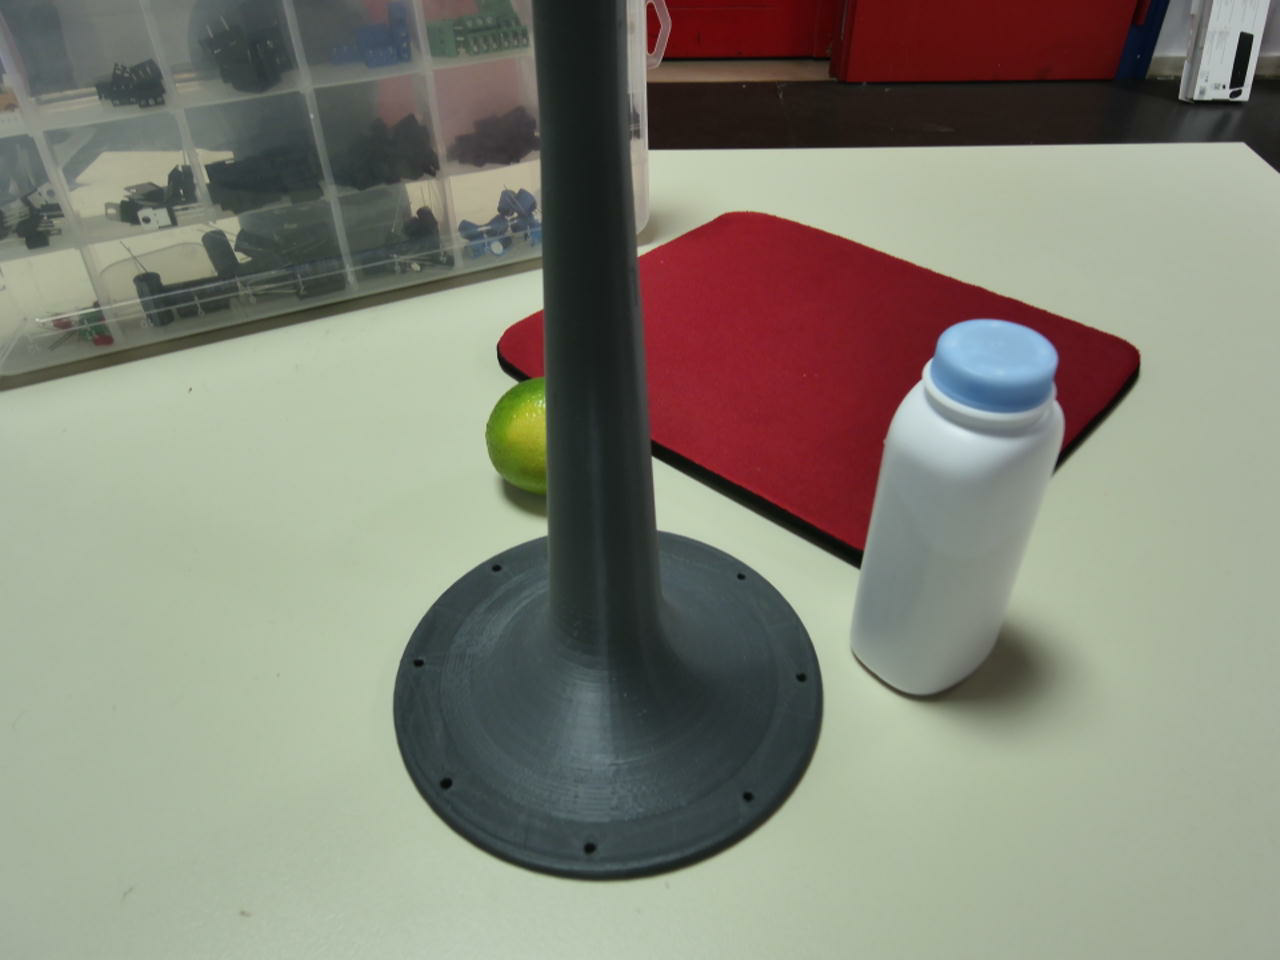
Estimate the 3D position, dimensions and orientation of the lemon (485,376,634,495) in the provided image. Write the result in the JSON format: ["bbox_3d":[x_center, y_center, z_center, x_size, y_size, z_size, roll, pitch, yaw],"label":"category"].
[{"bbox_3d":[-0.037,-0.019,0.426,0.054,0.050,0.055,-28,46,-30],"label":"lemon"}]
